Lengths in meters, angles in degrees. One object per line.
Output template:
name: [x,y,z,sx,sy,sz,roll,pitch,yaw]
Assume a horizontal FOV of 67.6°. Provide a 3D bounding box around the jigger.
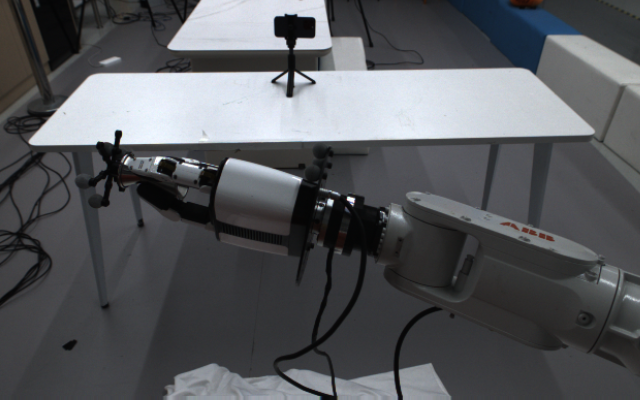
jigger: [-0.180,-0.030,0.549,0.071,0.043,0.043,10,35,2]
